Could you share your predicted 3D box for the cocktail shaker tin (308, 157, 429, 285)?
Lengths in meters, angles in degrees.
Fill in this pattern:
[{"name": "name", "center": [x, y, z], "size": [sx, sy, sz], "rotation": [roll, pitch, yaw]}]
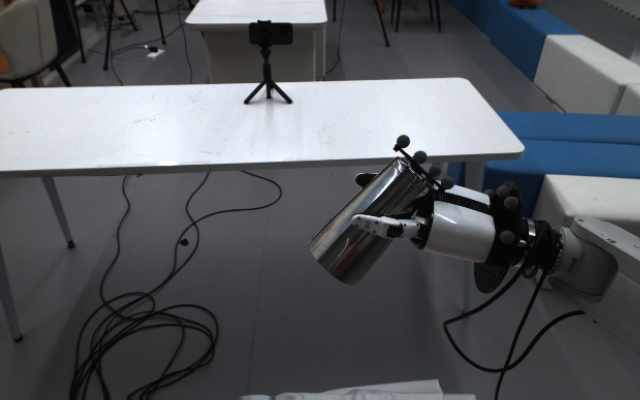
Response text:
[{"name": "cocktail shaker tin", "center": [0.073, 0.021, 0.665], "size": [0.093, 0.170, 0.093], "rotation": [41, 12, -11]}]
